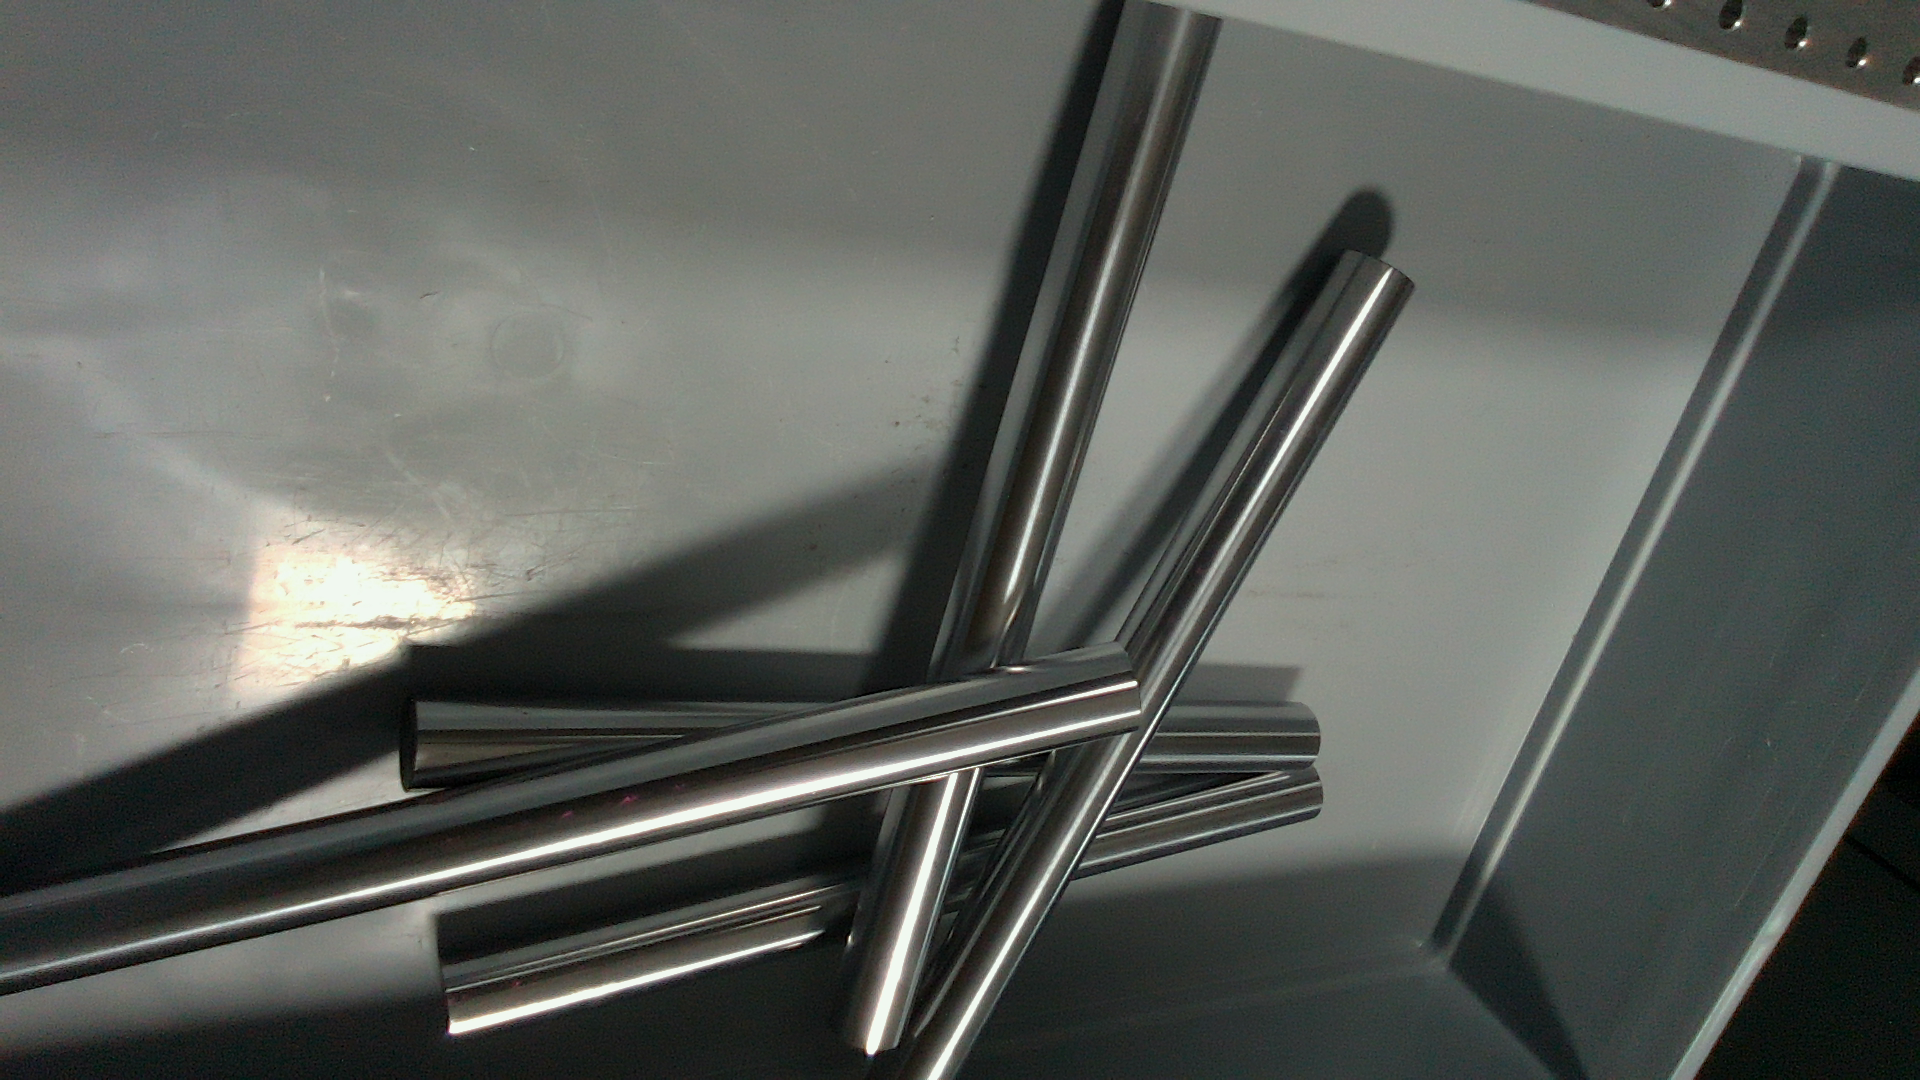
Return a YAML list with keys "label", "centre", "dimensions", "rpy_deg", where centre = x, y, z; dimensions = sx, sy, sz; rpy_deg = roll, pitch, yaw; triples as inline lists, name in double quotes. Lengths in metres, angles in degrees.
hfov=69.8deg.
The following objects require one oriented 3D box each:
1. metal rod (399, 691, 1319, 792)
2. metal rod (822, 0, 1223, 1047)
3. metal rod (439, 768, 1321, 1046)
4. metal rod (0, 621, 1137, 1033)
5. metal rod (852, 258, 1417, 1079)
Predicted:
- label: "metal rod"
  centre: [-0.009, 0.060, 0.420]
  dimensions: [0.301, 0.025, 0.025]
  rpy_deg: [5, 116, -30]
- label: "metal rod"
  centre: [0.011, 0.007, 0.376]
  dimensions: [0.025, 0.025, 0.300]
  rpy_deg: [6, 109, -31]
- label: "metal rod"
  centre: [-0.010, 0.111, 0.450]
  dimensions: [0.301, 0.025, 0.025]
  rpy_deg: [-8, 122, -24]
- label: "metal rod"
  centre: [-0.098, 0.070, 0.345]
  dimensions: [0.301, 0.025, 0.025]
  rpy_deg: [-14, 124, -14]
- label: "metal rod"
  centre: [0.049, 0.052, 0.421]
  dimensions: [0.025, 0.025, 0.300]
  rpy_deg: [27, 96, -37]
